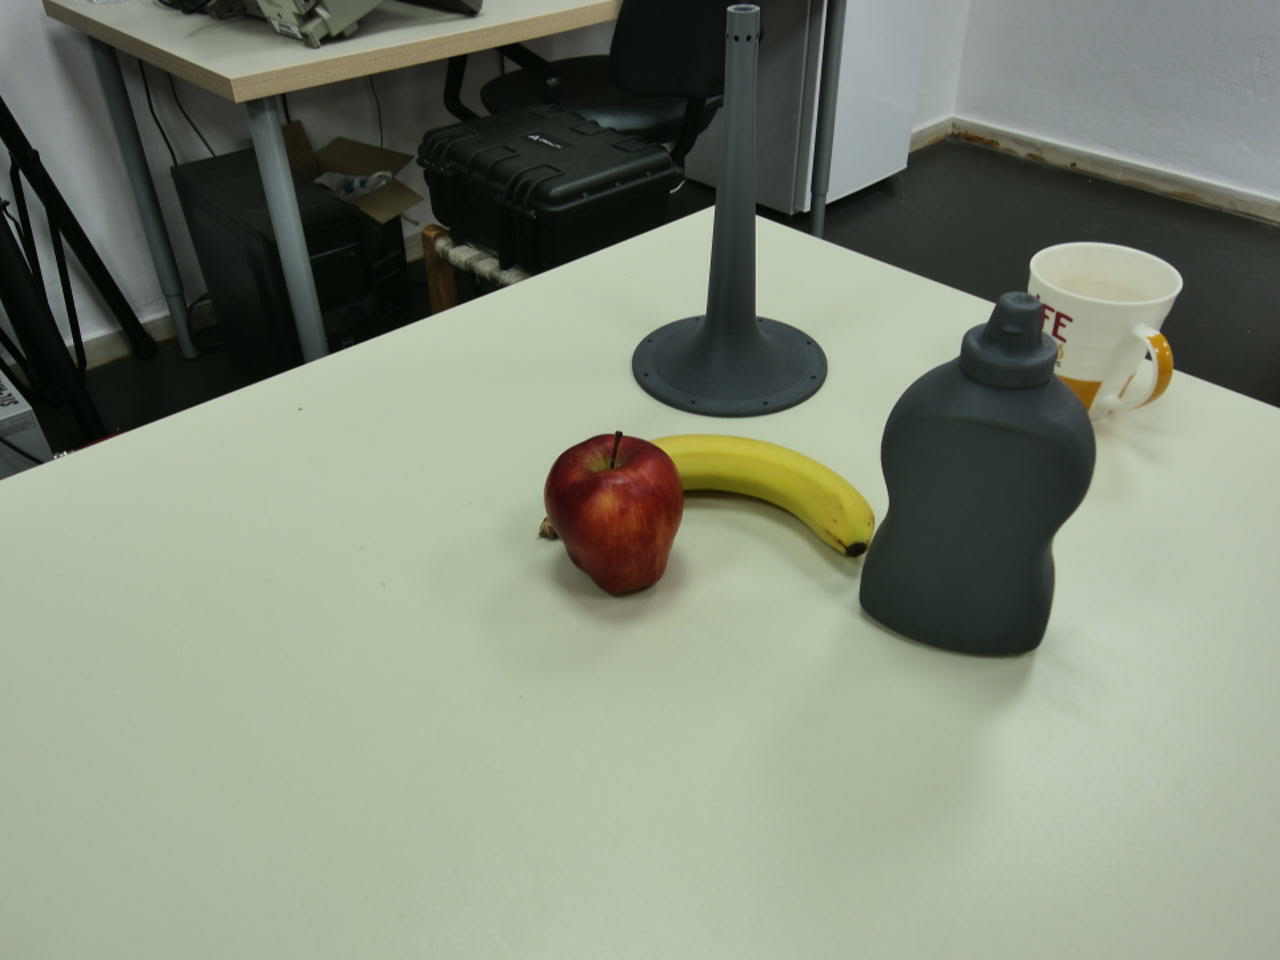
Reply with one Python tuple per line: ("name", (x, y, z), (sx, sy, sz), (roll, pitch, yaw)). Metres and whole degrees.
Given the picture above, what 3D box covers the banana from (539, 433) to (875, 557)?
("banana", (0.042, 0.006, 0.616), (0.196, 0.041, 0.094), (8, 37, 11))
